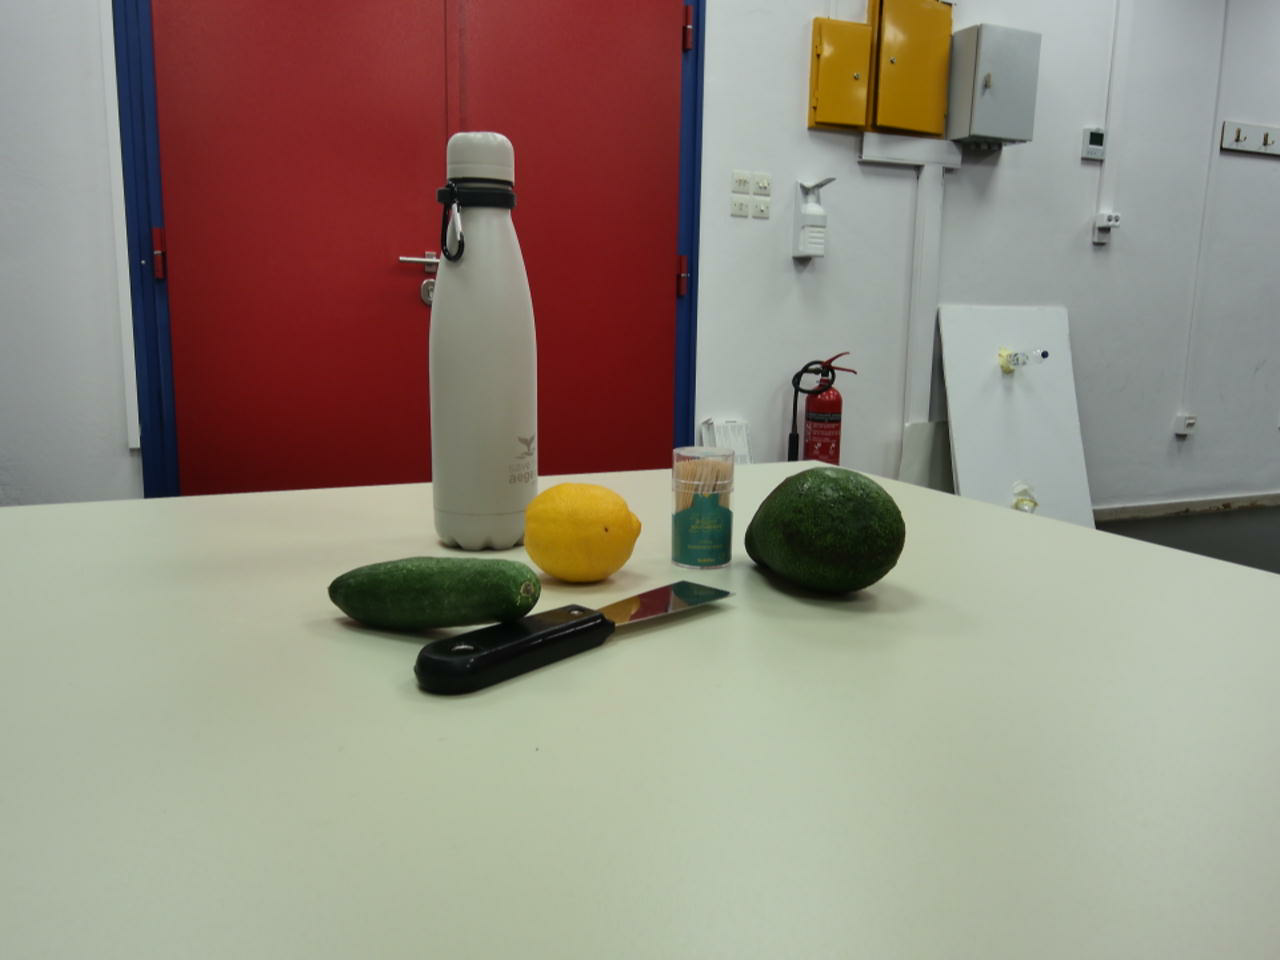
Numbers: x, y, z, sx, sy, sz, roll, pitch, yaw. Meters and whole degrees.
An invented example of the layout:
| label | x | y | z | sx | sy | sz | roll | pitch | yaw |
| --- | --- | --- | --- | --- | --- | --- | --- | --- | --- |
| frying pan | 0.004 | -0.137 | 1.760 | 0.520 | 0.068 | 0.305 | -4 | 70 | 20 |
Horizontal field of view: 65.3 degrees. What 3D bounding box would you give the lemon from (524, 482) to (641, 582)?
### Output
| label | x | y | z | sx | sy | sz | roll | pitch | yaw |
| --- | --- | --- | --- | --- | --- | --- | --- | --- | --- |
| lemon | -0.036 | 0.031 | 0.599 | 0.067 | 0.059 | 0.060 | 3 | 8 | 17 |
